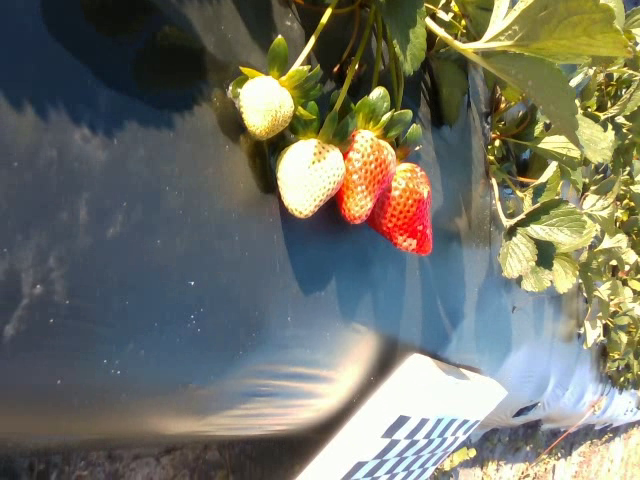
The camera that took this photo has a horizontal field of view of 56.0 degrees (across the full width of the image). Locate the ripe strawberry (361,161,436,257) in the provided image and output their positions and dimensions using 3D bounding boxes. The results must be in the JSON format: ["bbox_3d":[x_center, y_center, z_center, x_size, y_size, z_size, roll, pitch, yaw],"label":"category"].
[{"bbox_3d":[0.049,-0.016,0.350,0.056,0.067,0.051,-27,2,-26],"label":"ripe strawberry"}]

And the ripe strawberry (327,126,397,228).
[{"bbox_3d":[0.020,-0.032,0.308,0.043,0.061,0.051,3,-30,10],"label":"ripe strawberry"}]
